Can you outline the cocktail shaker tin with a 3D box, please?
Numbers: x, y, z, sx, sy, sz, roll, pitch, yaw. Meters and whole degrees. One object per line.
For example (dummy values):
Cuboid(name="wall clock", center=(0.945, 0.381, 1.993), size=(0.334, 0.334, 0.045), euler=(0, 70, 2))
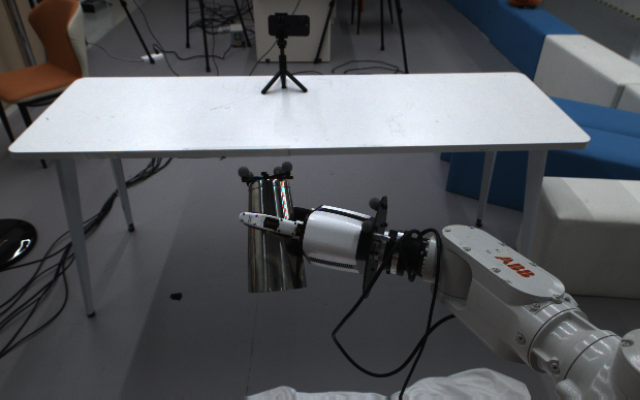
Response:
Cuboid(name="cocktail shaker tin", center=(-0.075, 0.056, 0.766), size=(0.093, 0.170, 0.093), euler=(-6, -7, -1))
